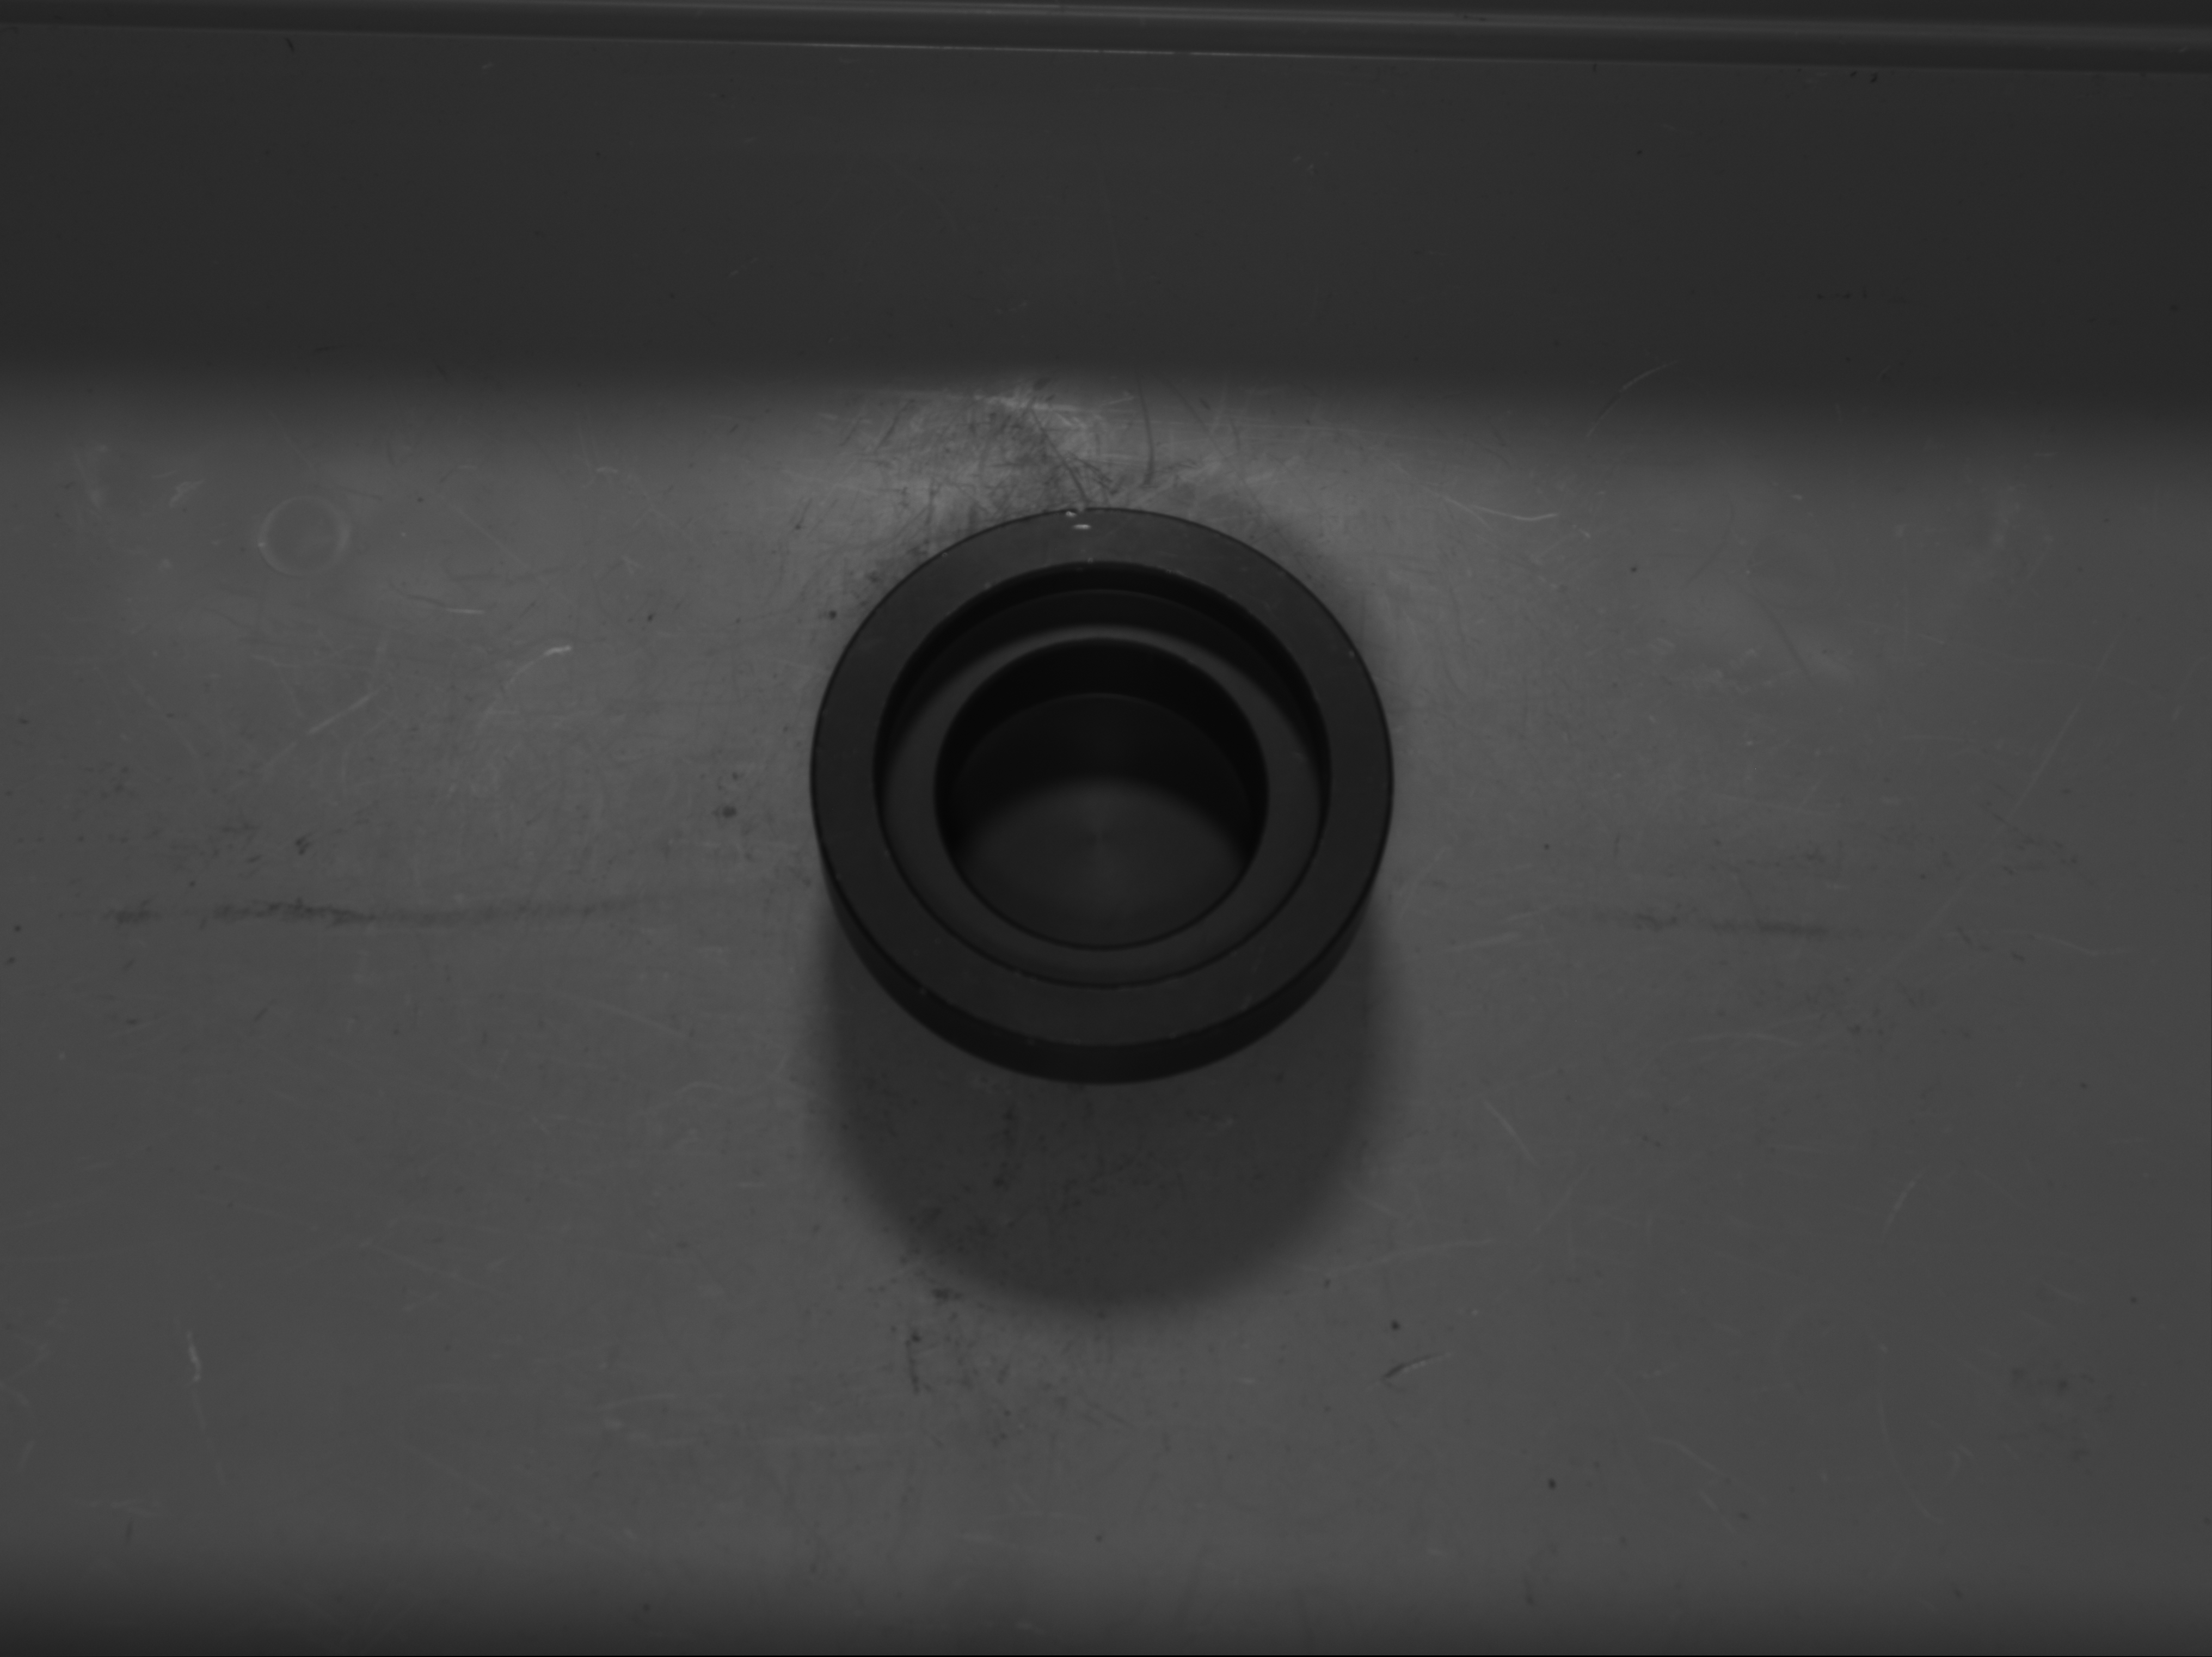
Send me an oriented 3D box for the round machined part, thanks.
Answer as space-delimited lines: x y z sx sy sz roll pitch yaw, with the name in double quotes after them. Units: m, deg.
0.007 -0.003 0.633 0.098 0.042 0.098 0 70 0 "round machined part"
